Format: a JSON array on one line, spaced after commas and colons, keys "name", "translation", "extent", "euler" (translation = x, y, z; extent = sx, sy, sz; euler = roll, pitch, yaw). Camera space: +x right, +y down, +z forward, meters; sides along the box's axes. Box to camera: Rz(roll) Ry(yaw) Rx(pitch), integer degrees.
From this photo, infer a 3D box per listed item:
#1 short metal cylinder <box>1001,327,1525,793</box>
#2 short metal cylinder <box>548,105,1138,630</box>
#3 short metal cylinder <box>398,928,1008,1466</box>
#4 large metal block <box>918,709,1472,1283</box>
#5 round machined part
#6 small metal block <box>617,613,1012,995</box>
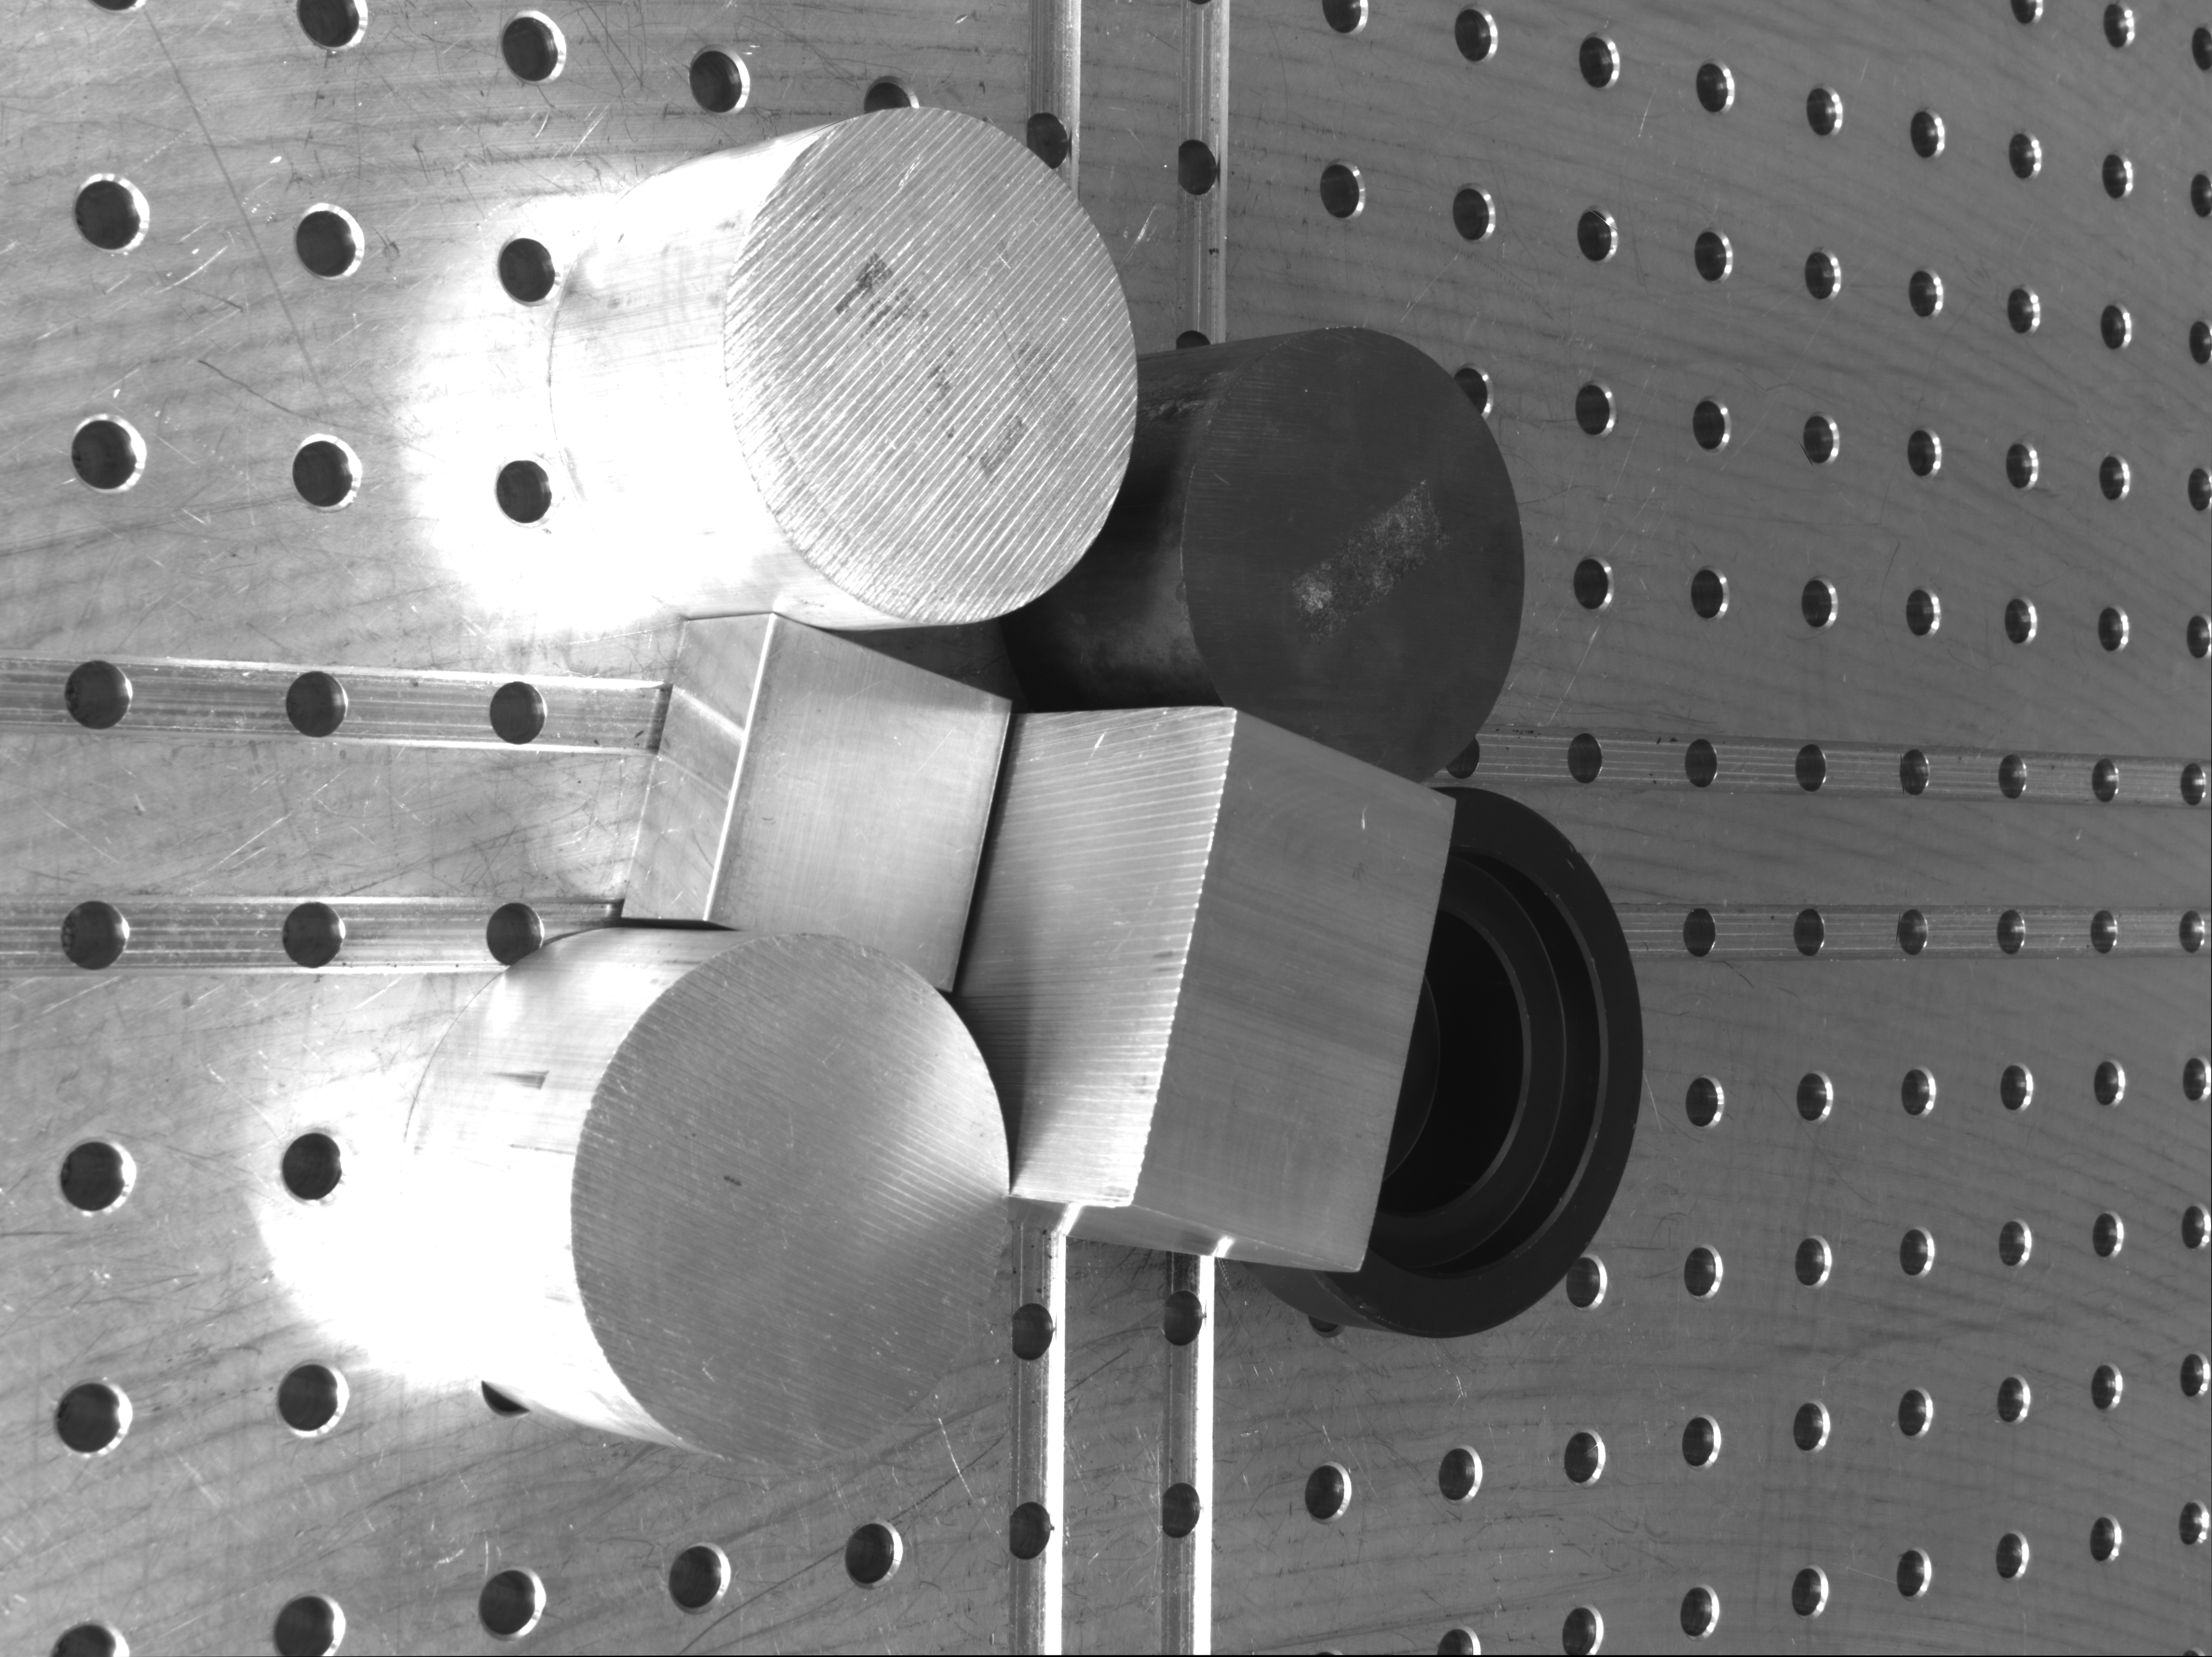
[{"name": "short metal cylinder", "translation": [0.028, -0.045, 0.645], "extent": [0.080, 0.050, 0.080], "euler": [0, 90, -40]}, {"name": "short metal cylinder", "translation": [-0.042, -0.072, 0.588], "extent": [0.080, 0.050, 0.080], "euler": [0, 90, -40]}, {"name": "short metal cylinder", "translation": [-0.062, 0.056, 0.571], "extent": [0.080, 0.050, 0.080], "euler": [0, 90, -40]}, {"name": "large metal block", "translation": [0.007, 0.027, 0.605], "extent": [0.050, 0.080, 0.080], "euler": [20, 77, -38]}, {"name": "round machined part", "translation": [0.049, 0.042, 0.668], "extent": [0.098, 0.042, 0.098], "euler": [0, 90, -40]}, {"name": "small metal block", "translation": [-0.047, -0.003, 0.599], "extent": [0.050, 0.025, 0.050], "euler": [19, 78, -38]}]
